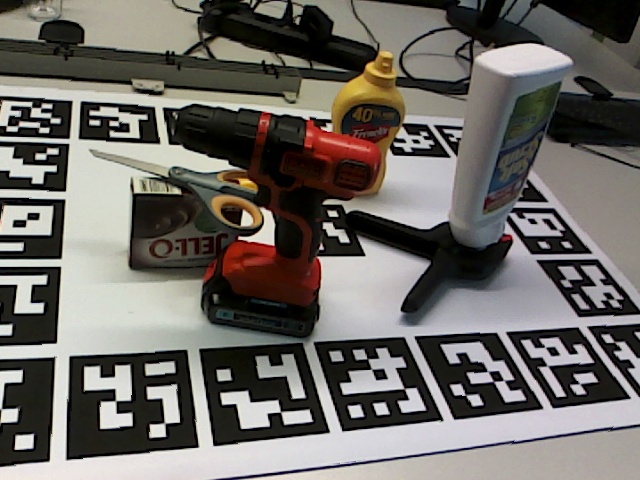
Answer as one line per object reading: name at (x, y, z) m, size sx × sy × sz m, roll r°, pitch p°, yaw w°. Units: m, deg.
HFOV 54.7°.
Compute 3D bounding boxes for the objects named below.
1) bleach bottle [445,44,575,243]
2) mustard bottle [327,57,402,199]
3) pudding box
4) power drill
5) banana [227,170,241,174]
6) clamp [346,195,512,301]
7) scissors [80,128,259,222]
bleach bottle at (0.202, -0.089, 0.711) m, size 0.102 × 0.250 × 0.068 m, roll -20°, pitch 46°, yaw -28°
mustard bottle at (0.054, -0.145, 0.805) m, size 0.096 × 0.191 × 0.058 m, roll 10°, pitch 38°, yaw -9°
pudding box at (-0.149, -0.021, 0.655) m, size 0.113 × 0.090 × 0.039 m, roll 3°, pitch 33°, yaw -17°
power drill at (-0.055, -0.025, 0.566) m, size 0.184 × 0.187 × 0.057 m, roll 7°, pitch 32°, yaw -7°
banana at (-0.066, -0.105, 0.820) m, size 0.075 × 0.039 × 0.196 m, roll 18°, pitch 35°, yaw 30°
clamp at (0.150, 0.000, 0.752) m, size 0.202 × 0.036 × 0.166 m, roll -4°, pitch 44°, yaw -25°
scissors at (-0.145, -0.075, 0.618) m, size 0.202 × 0.016 × 0.088 m, roll 20°, pitch 42°, yaw -3°
